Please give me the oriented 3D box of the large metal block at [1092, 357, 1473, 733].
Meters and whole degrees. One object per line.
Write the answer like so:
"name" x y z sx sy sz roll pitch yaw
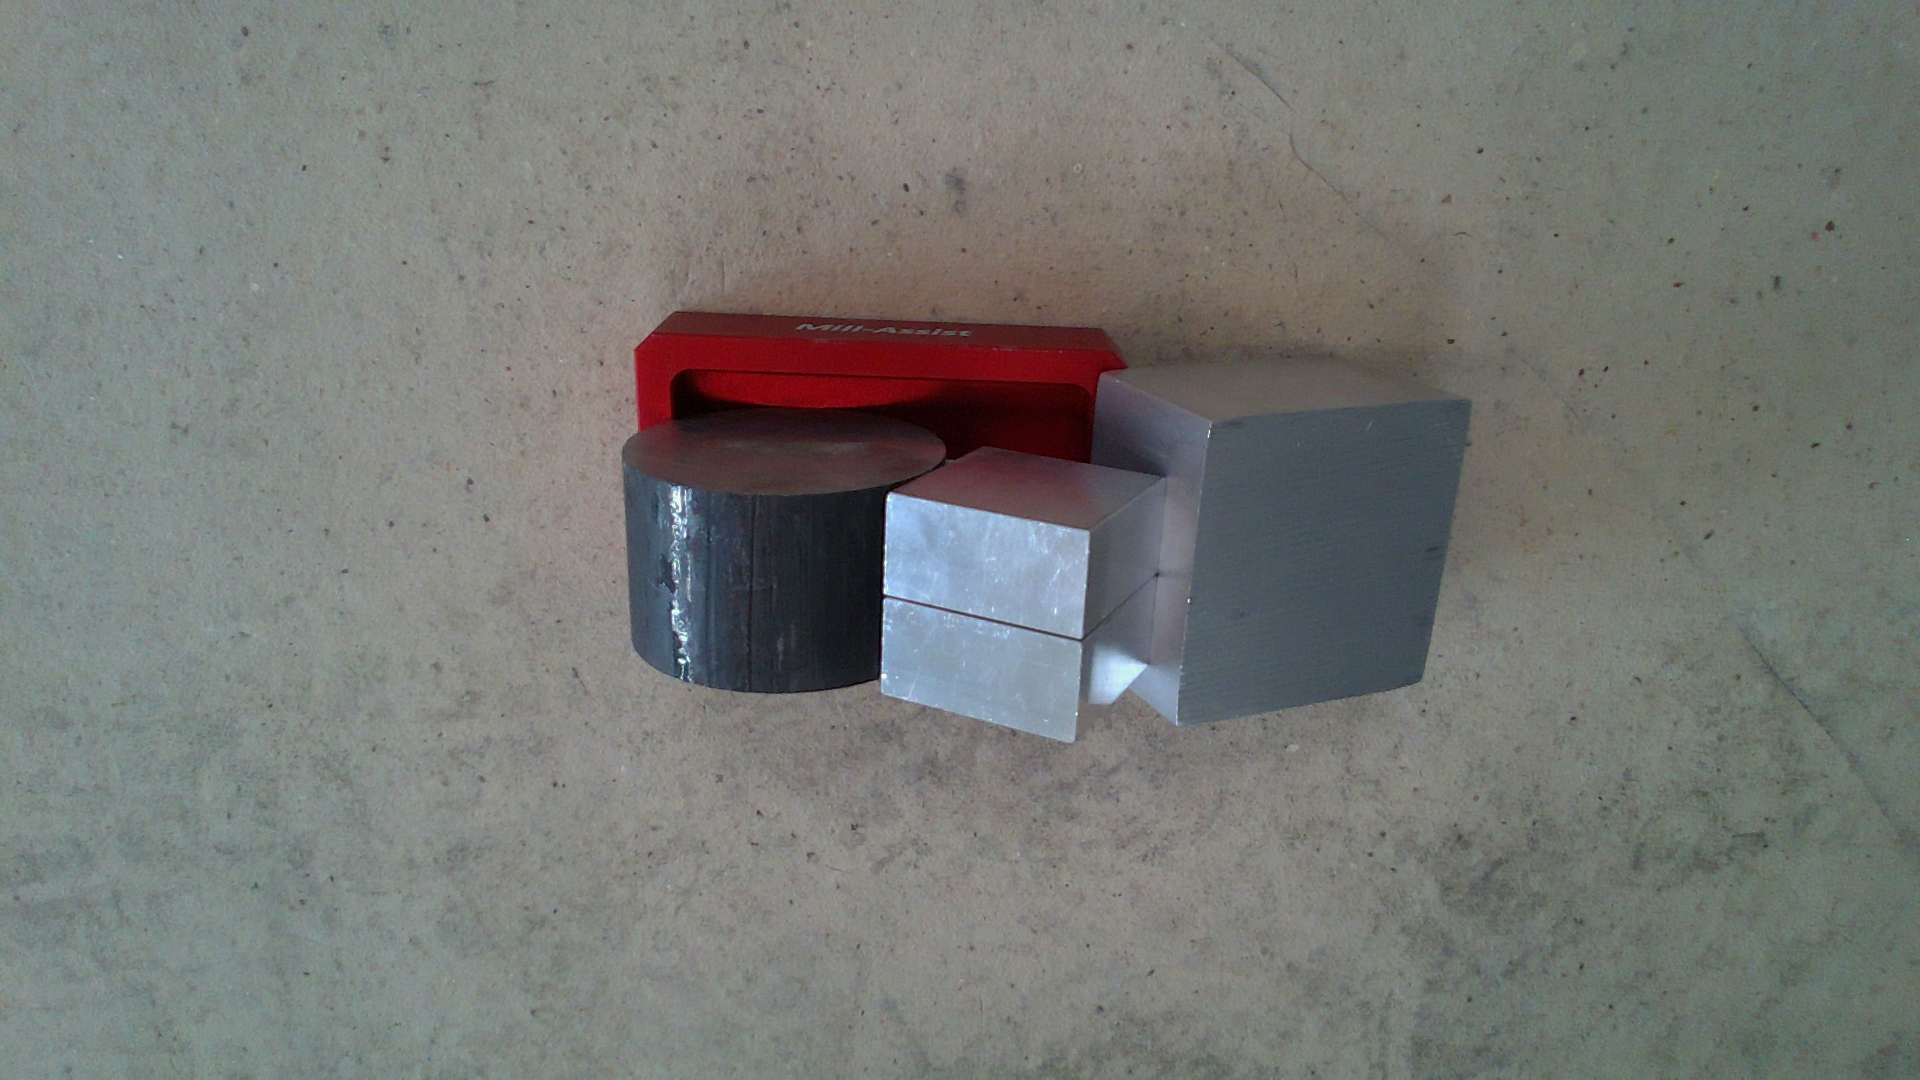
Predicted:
"large metal block" 0.081 -0.002 0.365 0.080 0.050 0.080 -7 112 -25

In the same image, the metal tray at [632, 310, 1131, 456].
"metal tray" -0.022 -0.015 0.386 0.130 0.030 0.090 2 110 -1

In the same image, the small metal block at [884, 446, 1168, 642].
"small metal block" 0.016 -0.001 0.325 0.050 0.050 0.025 11 111 24

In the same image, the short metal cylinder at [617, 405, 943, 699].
"short metal cylinder" -0.045 0.000 0.351 0.080 0.080 0.050 1 110 0

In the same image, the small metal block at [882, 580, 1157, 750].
"small metal block" 0.015 0.024 0.333 0.050 0.050 0.025 11 111 24
